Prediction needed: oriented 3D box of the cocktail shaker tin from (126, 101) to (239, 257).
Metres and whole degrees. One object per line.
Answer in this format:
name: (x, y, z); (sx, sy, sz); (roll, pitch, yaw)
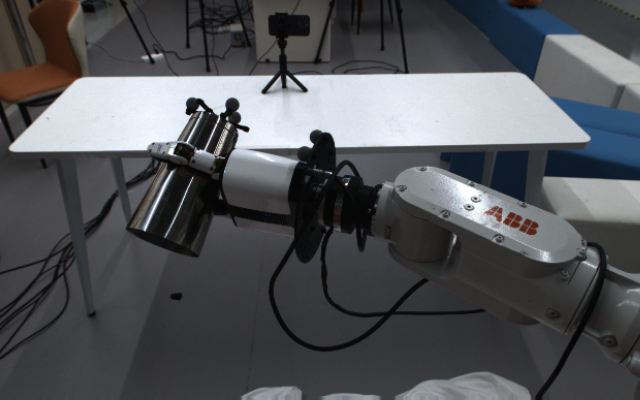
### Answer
cocktail shaker tin: (-0.165, -0.023, 0.612); (0.093, 0.093, 0.170); (13, 70, 15)
